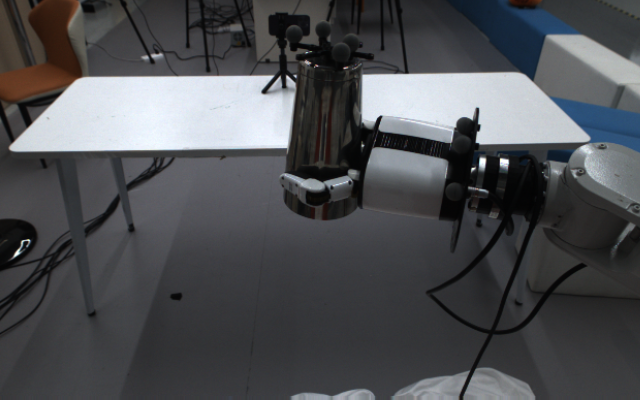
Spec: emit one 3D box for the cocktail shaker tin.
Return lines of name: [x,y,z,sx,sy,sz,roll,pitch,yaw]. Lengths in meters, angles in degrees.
cocktail shaker tin: [0.008,-0.073,0.539,0.093,0.170,0.093,3,34,-2]
